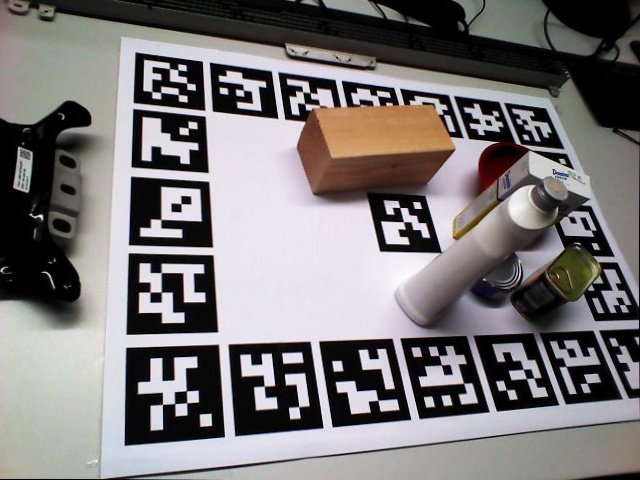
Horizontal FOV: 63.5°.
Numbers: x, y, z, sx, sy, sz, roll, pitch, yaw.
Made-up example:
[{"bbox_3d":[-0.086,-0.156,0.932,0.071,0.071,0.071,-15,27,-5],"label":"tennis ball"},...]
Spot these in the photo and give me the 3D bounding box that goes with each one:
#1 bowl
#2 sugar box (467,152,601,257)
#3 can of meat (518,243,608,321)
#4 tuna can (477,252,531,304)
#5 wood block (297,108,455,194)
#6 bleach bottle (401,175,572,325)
[{"bbox_3d":[0.331,-0.079,0.830,0.161,0.055,0.161,7,59,-11],"label":"bowl"},{"bbox_3d":[0.287,-0.041,0.714,0.093,0.177,0.045,18,58,-5],"label":"sugar box"},{"bbox_3d":[0.342,0.062,0.737,0.101,0.084,0.058,-29,70,-33],"label":"can of meat"},{"bbox_3d":[0.253,0.047,0.736,0.085,0.034,0.085,8,61,-15],"label":"tuna can"},{"bbox_3d":[0.085,-0.133,0.757,0.205,0.090,0.090,-7,67,-24],"label":"wood block"},{"bbox_3d":[0.193,0.013,0.607,0.102,0.252,0.068,-24,70,-30],"label":"bleach bottle"}]
